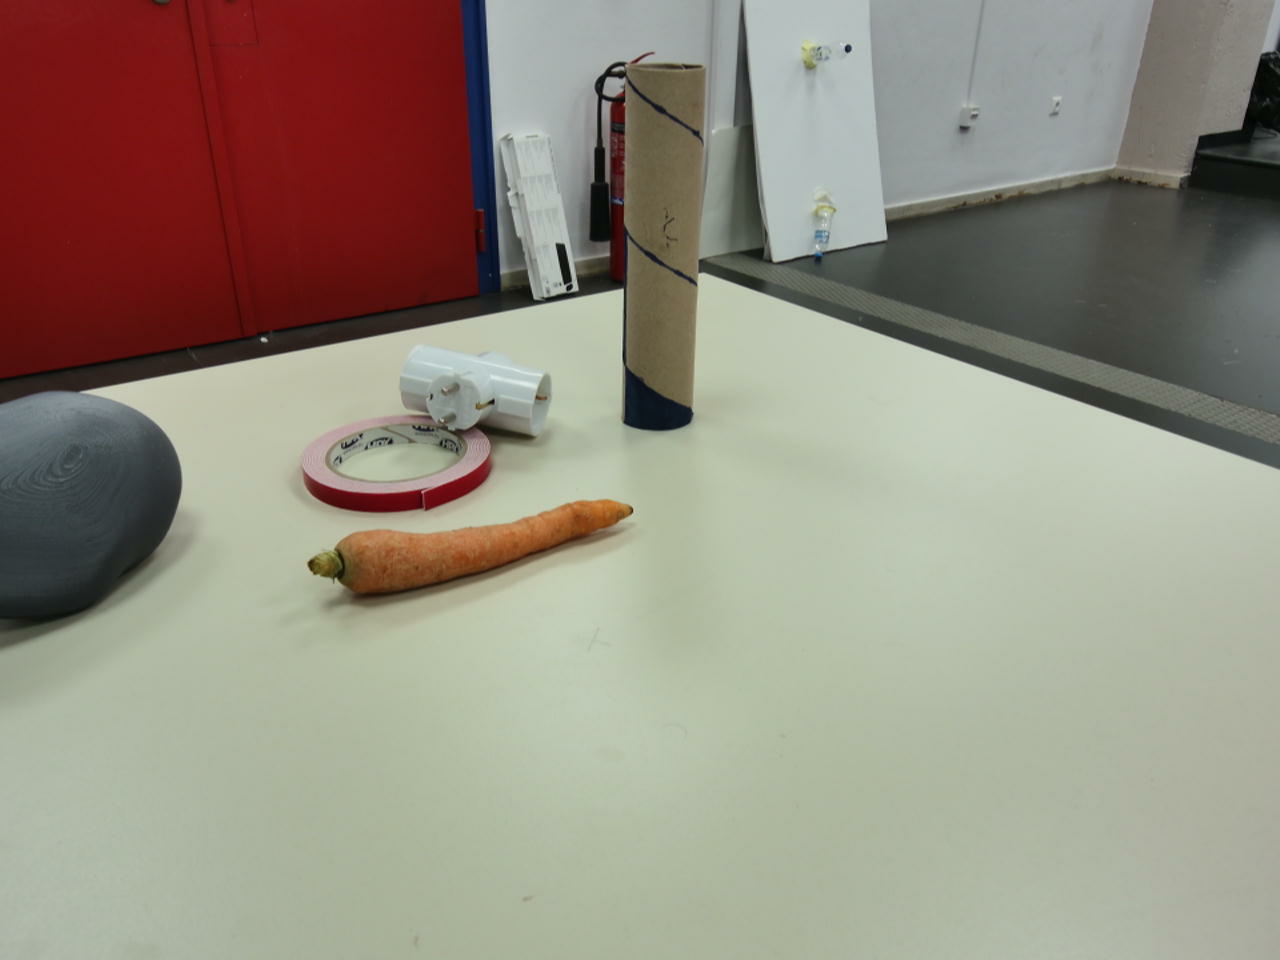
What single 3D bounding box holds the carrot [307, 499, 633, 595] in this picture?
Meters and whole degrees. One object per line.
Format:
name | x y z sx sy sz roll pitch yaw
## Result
carrot | -0.076 0.028 0.496 0.173 0.032 0.030 -12 28 -26
